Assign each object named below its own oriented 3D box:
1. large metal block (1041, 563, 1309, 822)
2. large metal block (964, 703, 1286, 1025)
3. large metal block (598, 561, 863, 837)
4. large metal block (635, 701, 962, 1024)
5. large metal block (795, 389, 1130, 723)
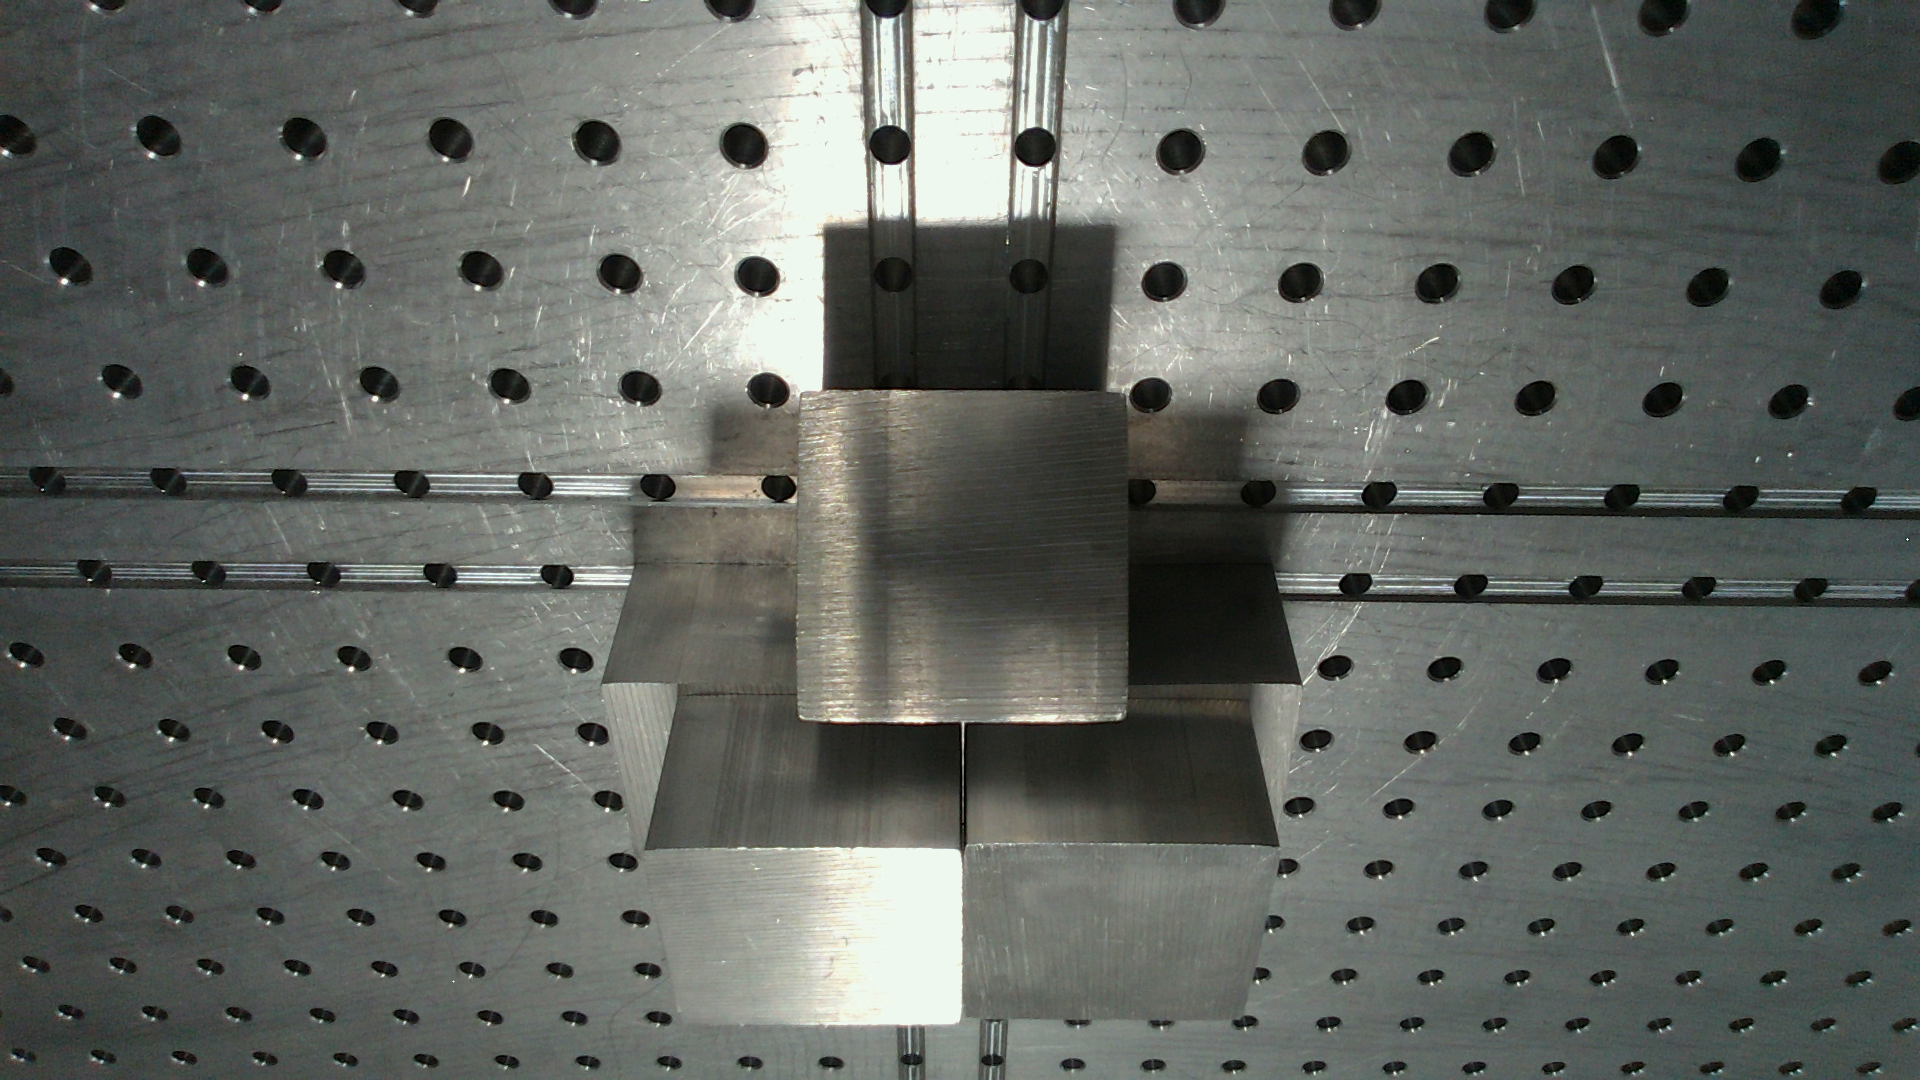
[{"bbox_3d":[0.057,0.054,0.423,0.080,0.050,0.080,-1,130,1],"label":"large metal block"},{"bbox_3d":[0.041,0.092,0.387,0.080,0.050,0.080,0,130,0],"label":"large metal block"},{"bbox_3d":[-0.060,0.054,0.423,0.080,0.050,0.080,1,130,-1],"label":"large metal block"},{"bbox_3d":[-0.040,0.091,0.385,0.080,0.050,0.080,0,130,0],"label":"large metal block"},{"bbox_3d":[0.001,0.004,0.354,0.080,0.050,0.080,0,88,0],"label":"large metal block"}]
